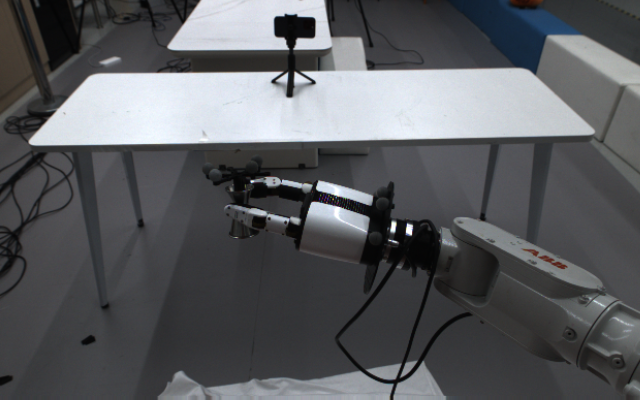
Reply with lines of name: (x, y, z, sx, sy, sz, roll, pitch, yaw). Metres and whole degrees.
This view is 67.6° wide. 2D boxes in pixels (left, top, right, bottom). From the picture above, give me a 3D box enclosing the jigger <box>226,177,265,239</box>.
jigger: (-0.108, 0.015, 0.672, 0.043, 0.071, 0.043, -2, 19, 1)
